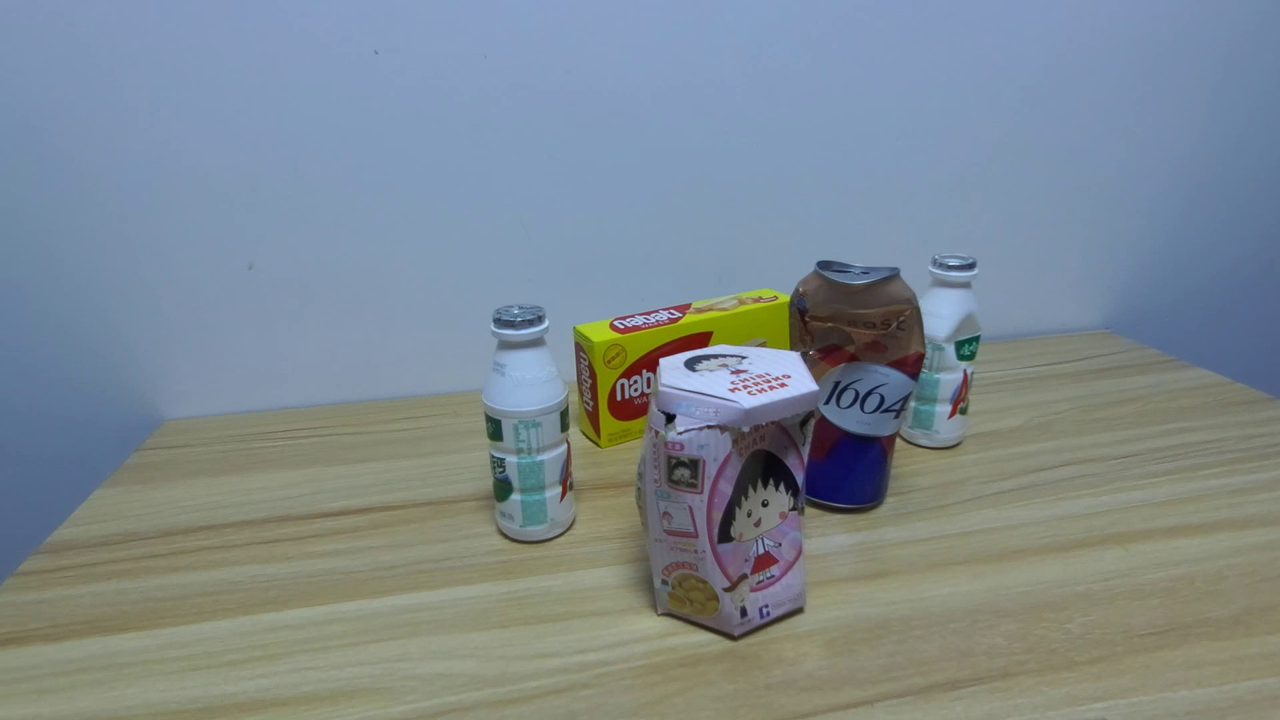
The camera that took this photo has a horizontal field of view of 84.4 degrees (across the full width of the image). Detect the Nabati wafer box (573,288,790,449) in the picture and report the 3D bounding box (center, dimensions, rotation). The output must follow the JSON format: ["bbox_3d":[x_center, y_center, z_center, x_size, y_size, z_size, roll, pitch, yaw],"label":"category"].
[{"bbox_3d":[0.047,0.004,0.599,0.203,0.093,0.042,-13,22,-25],"label":"Nabati wafer box"}]

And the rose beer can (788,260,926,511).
[{"bbox_3d":[0.136,0.017,0.465,0.074,0.162,0.068,-5,21,-12],"label":"rose beer can"}]

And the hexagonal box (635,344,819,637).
[{"bbox_3d":[0.047,0.067,0.382,0.091,0.134,0.090,3,19,11],"label":"hexagonal box"}]

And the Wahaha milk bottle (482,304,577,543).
[{"bbox_3d":[-0.070,0.040,0.442,0.053,0.147,0.053,-2,21,1],"label":"Wahaha milk bottle"}]
